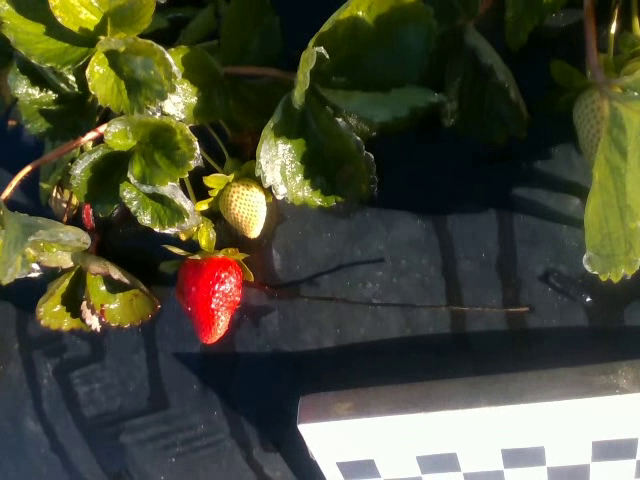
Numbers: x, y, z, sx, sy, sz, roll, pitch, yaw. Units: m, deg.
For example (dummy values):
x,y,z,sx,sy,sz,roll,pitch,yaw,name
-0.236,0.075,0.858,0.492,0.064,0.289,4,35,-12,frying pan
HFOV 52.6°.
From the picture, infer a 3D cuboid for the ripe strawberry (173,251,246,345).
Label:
x,y,z,sx,sy,sz,roll,pitch,yaw,name
-0.045,0.028,0.266,0.039,0.039,0.040,-10,-22,29,ripe strawberry
